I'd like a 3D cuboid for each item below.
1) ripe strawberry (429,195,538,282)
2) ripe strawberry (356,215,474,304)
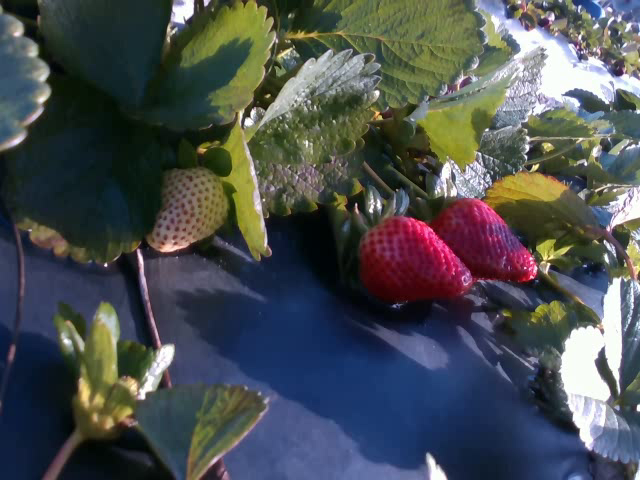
[{"bbox_3d":[0.076,0.005,0.270,0.057,0.046,0.052,31,52,26],"label":"ripe strawberry"},{"bbox_3d":[0.039,0.011,0.228,0.051,0.043,0.037,27,-32,20],"label":"ripe strawberry"}]
